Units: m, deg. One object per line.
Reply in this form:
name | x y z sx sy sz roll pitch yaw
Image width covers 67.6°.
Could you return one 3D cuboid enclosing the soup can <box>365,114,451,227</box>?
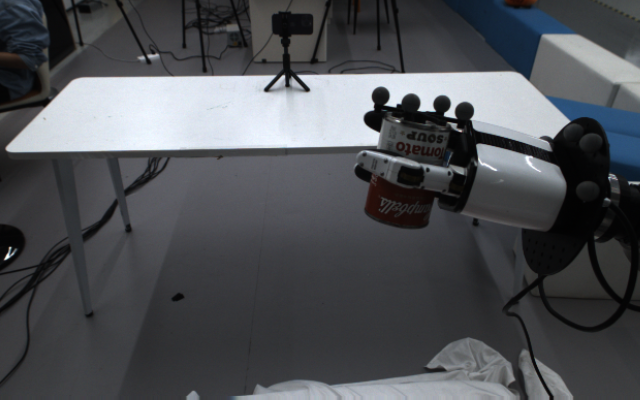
soup can | 0.089 -0.030 0.484 0.067 0.101 0.067 9 19 -3
